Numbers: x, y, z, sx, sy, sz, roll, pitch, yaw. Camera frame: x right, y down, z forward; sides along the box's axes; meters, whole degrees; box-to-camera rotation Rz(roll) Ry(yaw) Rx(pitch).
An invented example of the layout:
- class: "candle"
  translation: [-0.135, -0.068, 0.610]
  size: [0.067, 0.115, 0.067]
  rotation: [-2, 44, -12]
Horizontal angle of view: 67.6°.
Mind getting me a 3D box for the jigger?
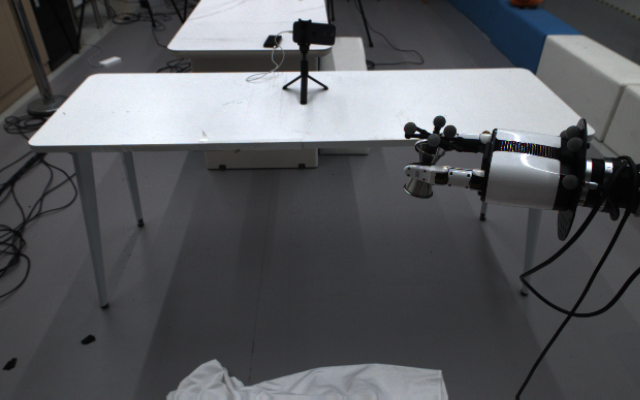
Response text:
- class: "jigger"
  translation: [0.147, -0.043, 0.689]
  size: [0.043, 0.071, 0.043]
  rotation: [9, 30, -5]
